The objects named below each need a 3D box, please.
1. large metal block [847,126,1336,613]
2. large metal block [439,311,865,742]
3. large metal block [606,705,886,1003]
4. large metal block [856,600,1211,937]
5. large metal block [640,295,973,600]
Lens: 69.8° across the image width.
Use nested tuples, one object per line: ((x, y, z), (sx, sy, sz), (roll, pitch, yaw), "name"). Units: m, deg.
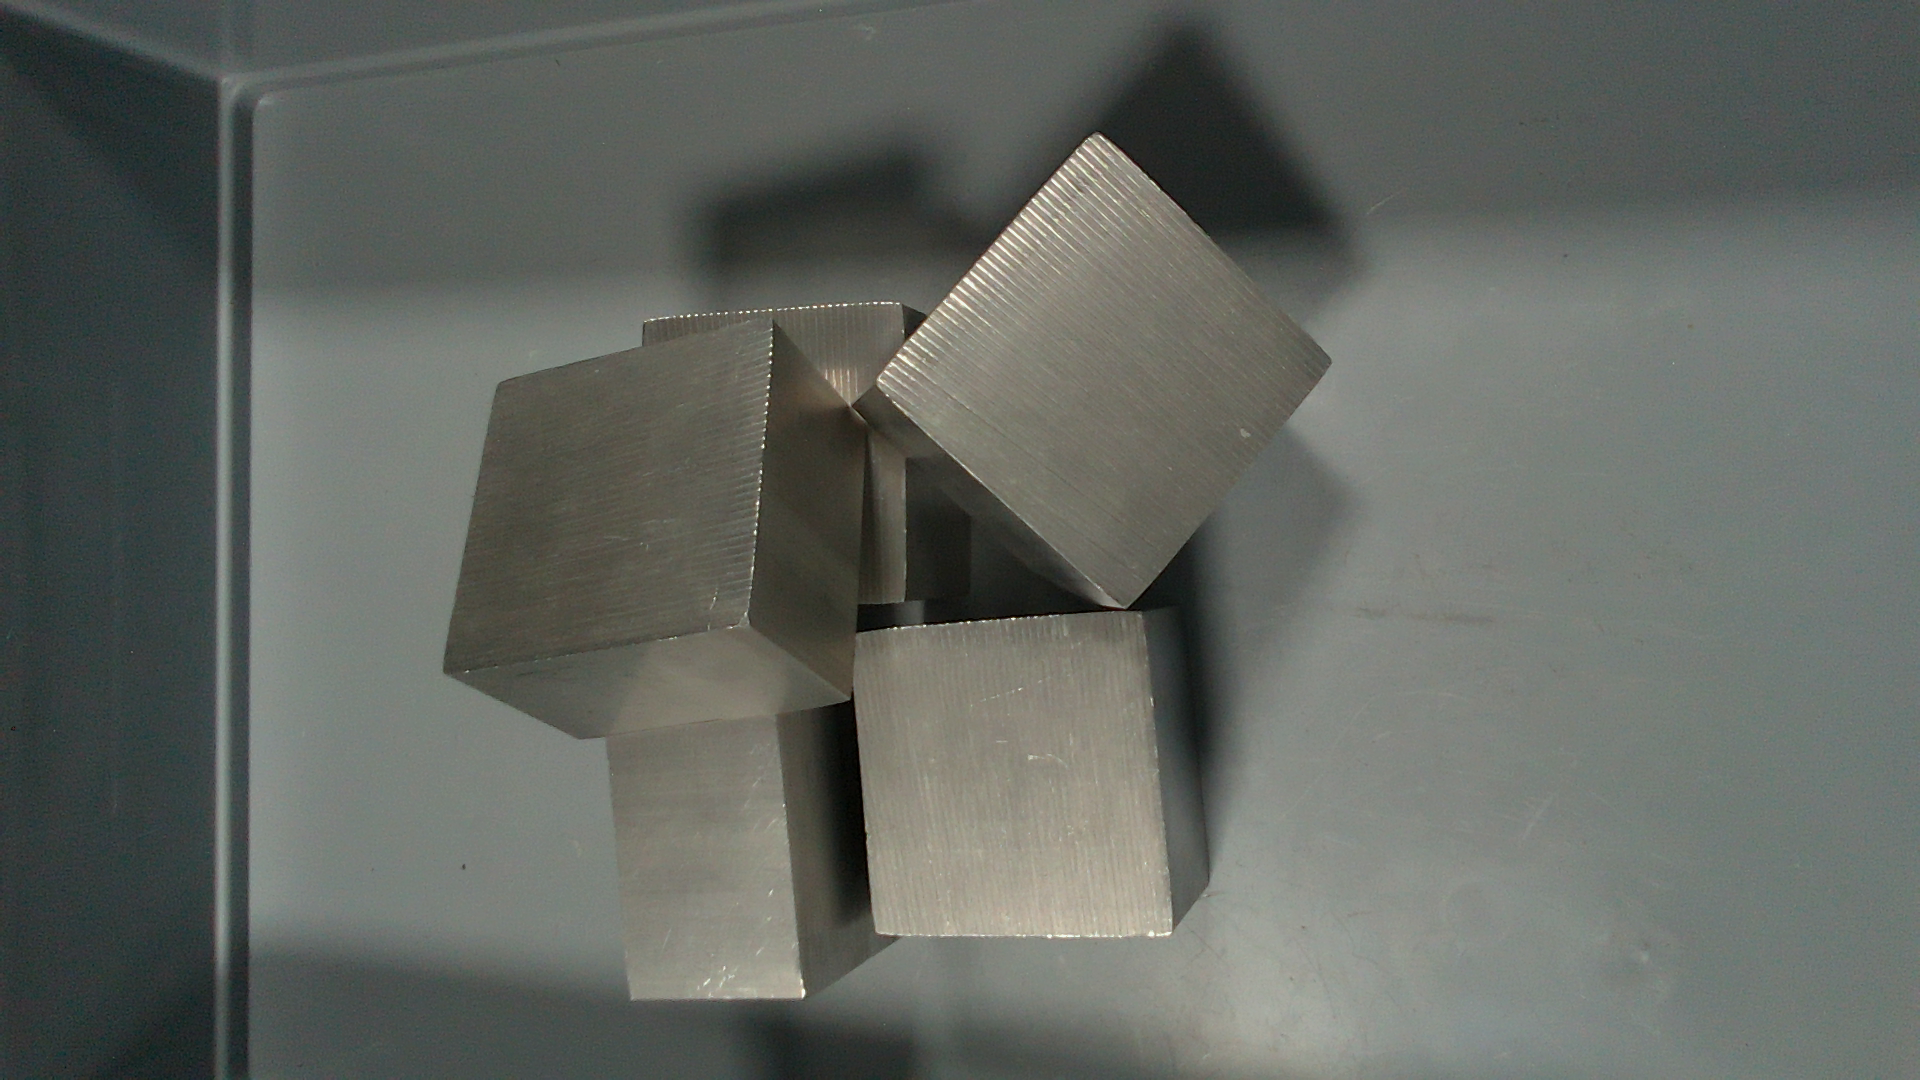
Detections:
((0.030, -0.039, 0.343), (0.080, 0.050, 0.080), (42, 82, -8), "large metal block")
((-0.072, -0.001, 0.338), (0.080, 0.050, 0.080), (-10, 61, 20), "large metal block")
((-0.052, 0.076, 0.384), (0.050, 0.080, 0.080), (-7, 88, 20), "large metal block")
((0.020, 0.060, 0.372), (0.080, 0.050, 0.080), (-6, 88, 20), "large metal block")
((-0.043, -0.024, 0.397), (0.080, 0.050, 0.080), (-1, 90, 20), "large metal block")
